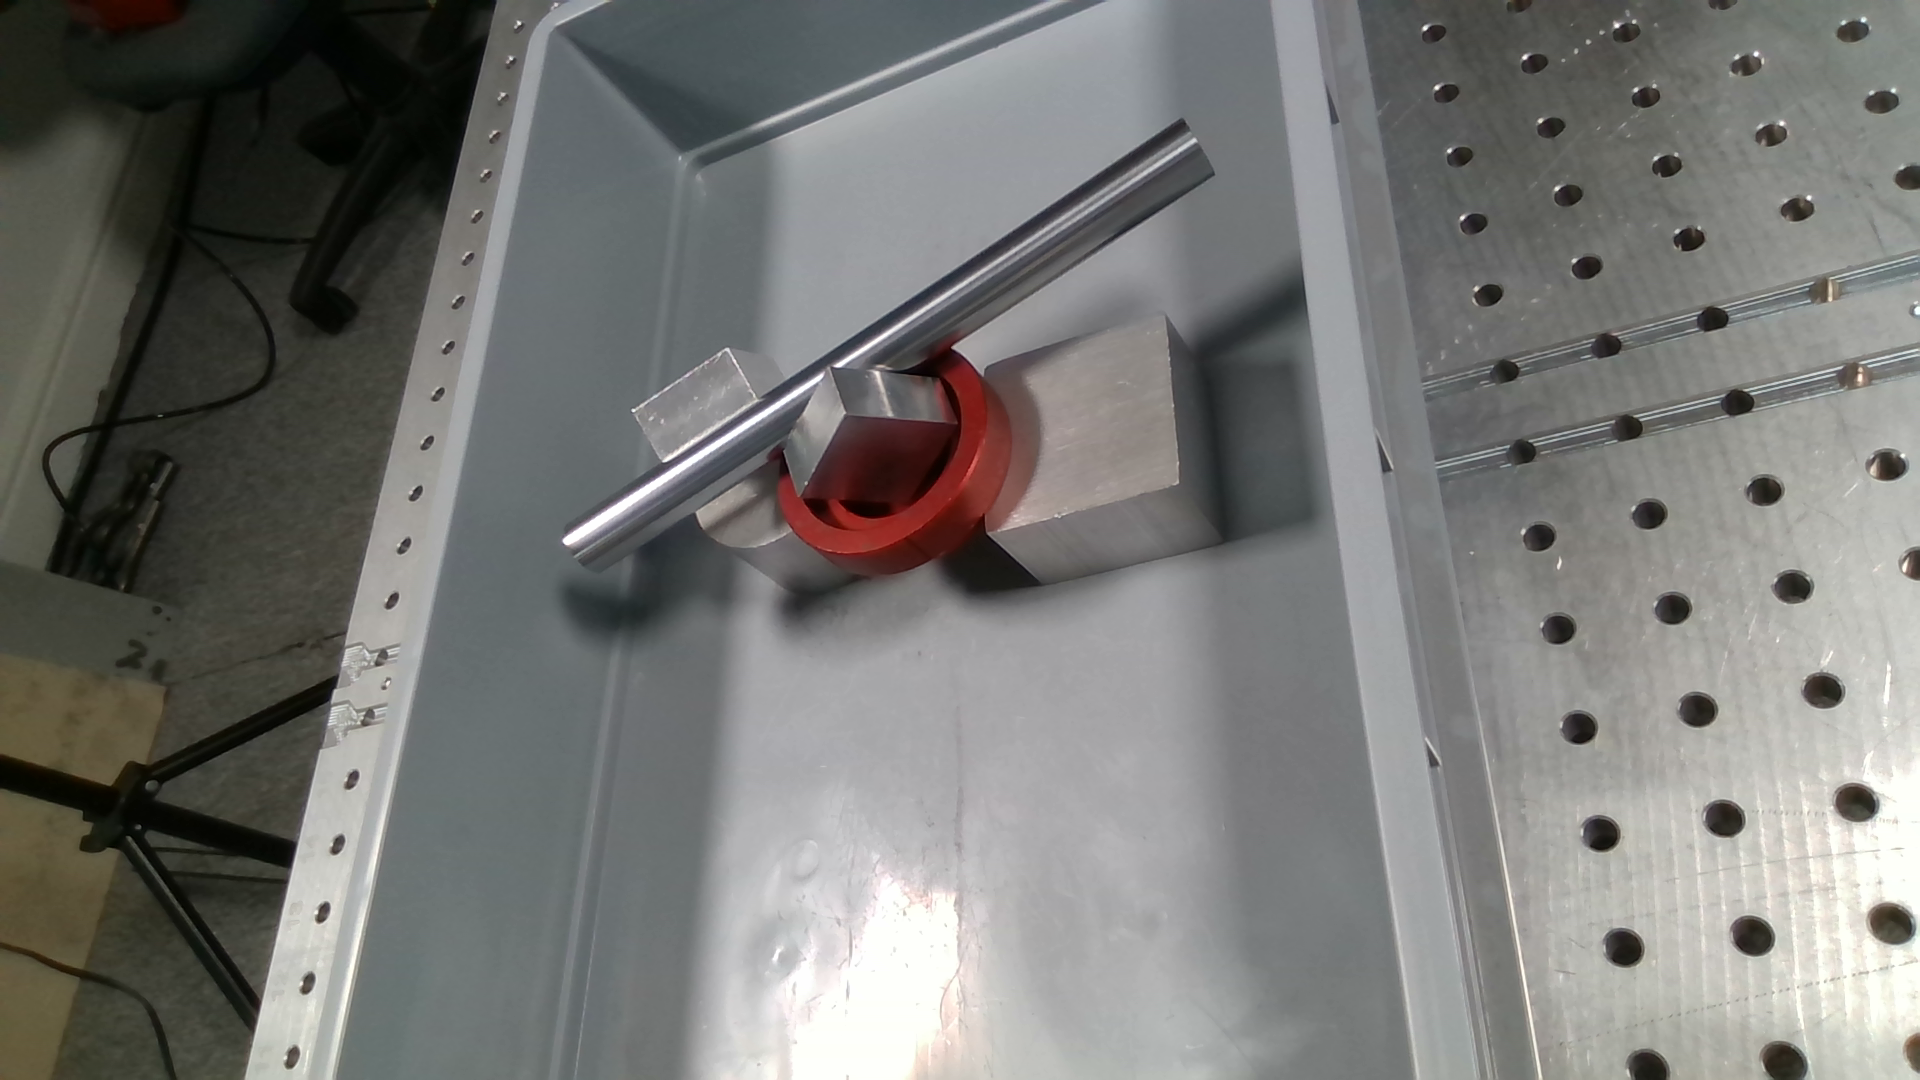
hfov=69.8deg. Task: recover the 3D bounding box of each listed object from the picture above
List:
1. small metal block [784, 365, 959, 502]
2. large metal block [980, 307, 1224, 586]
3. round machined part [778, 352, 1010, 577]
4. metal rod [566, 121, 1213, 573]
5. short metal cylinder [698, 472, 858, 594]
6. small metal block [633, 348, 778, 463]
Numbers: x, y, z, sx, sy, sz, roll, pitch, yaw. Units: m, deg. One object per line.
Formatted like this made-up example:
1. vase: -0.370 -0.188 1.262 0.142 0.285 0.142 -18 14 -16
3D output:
1. small metal block: -0.036 -0.041 0.550 0.050 0.050 0.025 -55 44 42
2. large metal block: 0.055 -0.036 0.551 0.080 0.050 0.080 -15 59 25
3. round machined part: -0.023 -0.029 0.565 0.098 0.042 0.098 -14 59 25
4. metal rod: -0.036 -0.072 0.554 0.300 0.025 0.025 -31 53 14
5. short metal cylinder: -0.073 -0.022 0.626 0.080 0.050 0.080 -14 59 25
6. small metal block: -0.104 -0.057 0.595 0.050 0.050 0.025 -31 86 14
